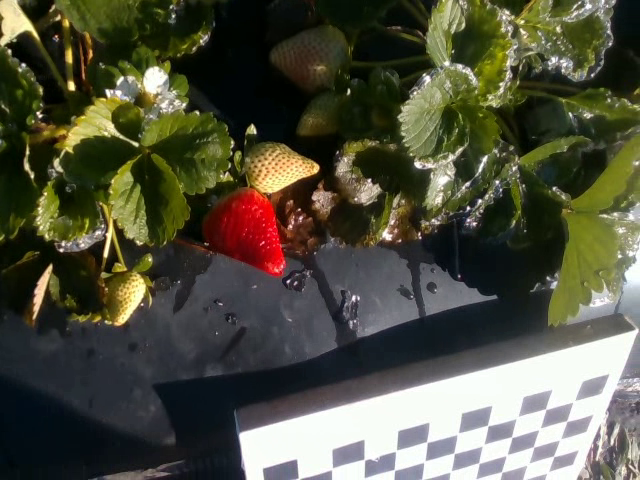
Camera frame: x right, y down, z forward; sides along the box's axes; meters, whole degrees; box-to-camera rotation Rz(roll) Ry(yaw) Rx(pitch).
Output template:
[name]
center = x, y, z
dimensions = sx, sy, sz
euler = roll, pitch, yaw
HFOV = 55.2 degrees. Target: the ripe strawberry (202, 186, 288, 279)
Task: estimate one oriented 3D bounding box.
[ripe strawberry]
center = -0.033, -0.001, 0.295
dimensions = 0.040, 0.053, 0.042
euler = -42, -24, 8
